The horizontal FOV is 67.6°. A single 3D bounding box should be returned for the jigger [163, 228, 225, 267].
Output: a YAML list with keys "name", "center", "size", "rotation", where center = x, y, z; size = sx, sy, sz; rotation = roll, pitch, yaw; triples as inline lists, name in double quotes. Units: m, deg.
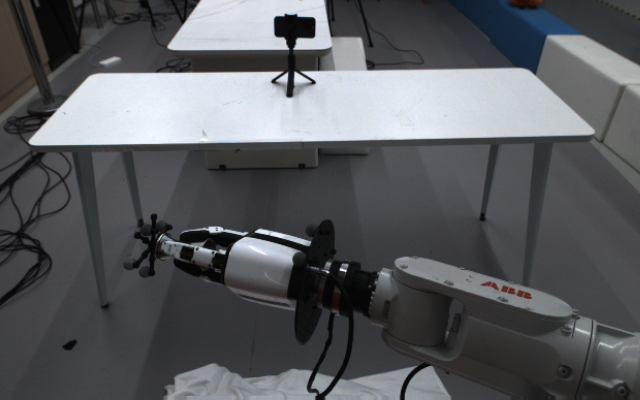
- name: "jigger"
  center: [-0.177, 0.065, 0.656]
  size: [0.071, 0.043, 0.043]
  rotation: [7, 35, 15]
